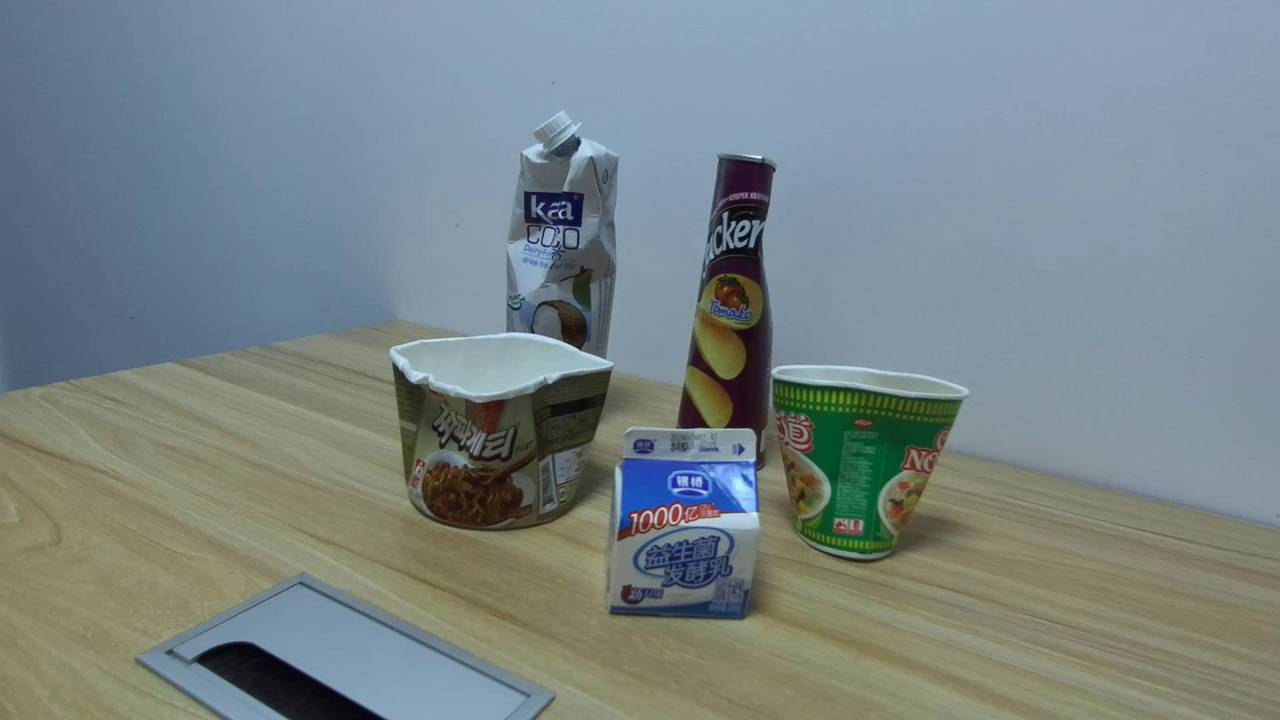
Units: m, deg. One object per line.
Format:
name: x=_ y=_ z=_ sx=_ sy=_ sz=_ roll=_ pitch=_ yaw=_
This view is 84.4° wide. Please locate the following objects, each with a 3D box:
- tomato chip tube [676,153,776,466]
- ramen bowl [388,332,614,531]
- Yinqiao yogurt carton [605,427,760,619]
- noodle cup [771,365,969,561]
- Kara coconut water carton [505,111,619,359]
tomato chip tube: x=0.075 y=-0.035 z=0.544 sx=0.078 sy=0.235 sz=0.076 roll=-7 pitch=19 yaw=-41
ramen bowl: x=-0.103 y=0.040 z=0.473 sx=0.133 sy=0.097 sz=0.114 roll=15 pitch=21 yaw=29
Yinqiao yogurt carton: x=0.022 y=0.078 z=0.383 sx=0.076 sy=0.092 sz=0.073 roll=3 pitch=17 yaw=-3
noodle cup: x=0.137 y=0.060 z=0.448 sx=0.114 sy=0.111 sz=0.070 roll=12 pitch=20 yaw=21
Kara coconut water carton: x=-0.068 y=-0.071 z=0.589 sx=0.083 sy=0.255 sz=0.079 roll=16 pitch=21 yaw=29
